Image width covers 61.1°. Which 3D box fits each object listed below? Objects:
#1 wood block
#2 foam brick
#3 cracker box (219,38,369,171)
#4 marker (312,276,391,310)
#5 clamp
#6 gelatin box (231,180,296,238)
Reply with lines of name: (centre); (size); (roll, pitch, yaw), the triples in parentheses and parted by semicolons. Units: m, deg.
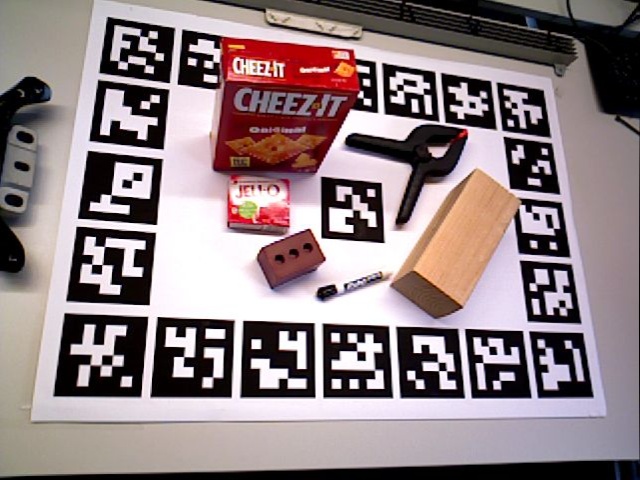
wood block: (0.209, 0.017, 0.796); (0.090, 0.093, 0.202); (37, 65, 1)
foam brick: (-0.037, 0.034, 0.744); (0.077, 0.052, 0.053); (-20, 81, -19)
cracker box: (-0.040, -0.168, 0.710); (0.162, 0.218, 0.071); (2, 71, -17)
marker: (0.045, 0.075, 0.769); (0.119, 0.020, 0.019); (-15, 79, -18)
clamp: (0.166, -0.122, 0.852); (0.199, 0.037, 0.165); (-27, 83, -20)
gelatin box: (-0.080, -0.043, 0.771); (0.088, 0.030, 0.073); (4, 74, -14)
